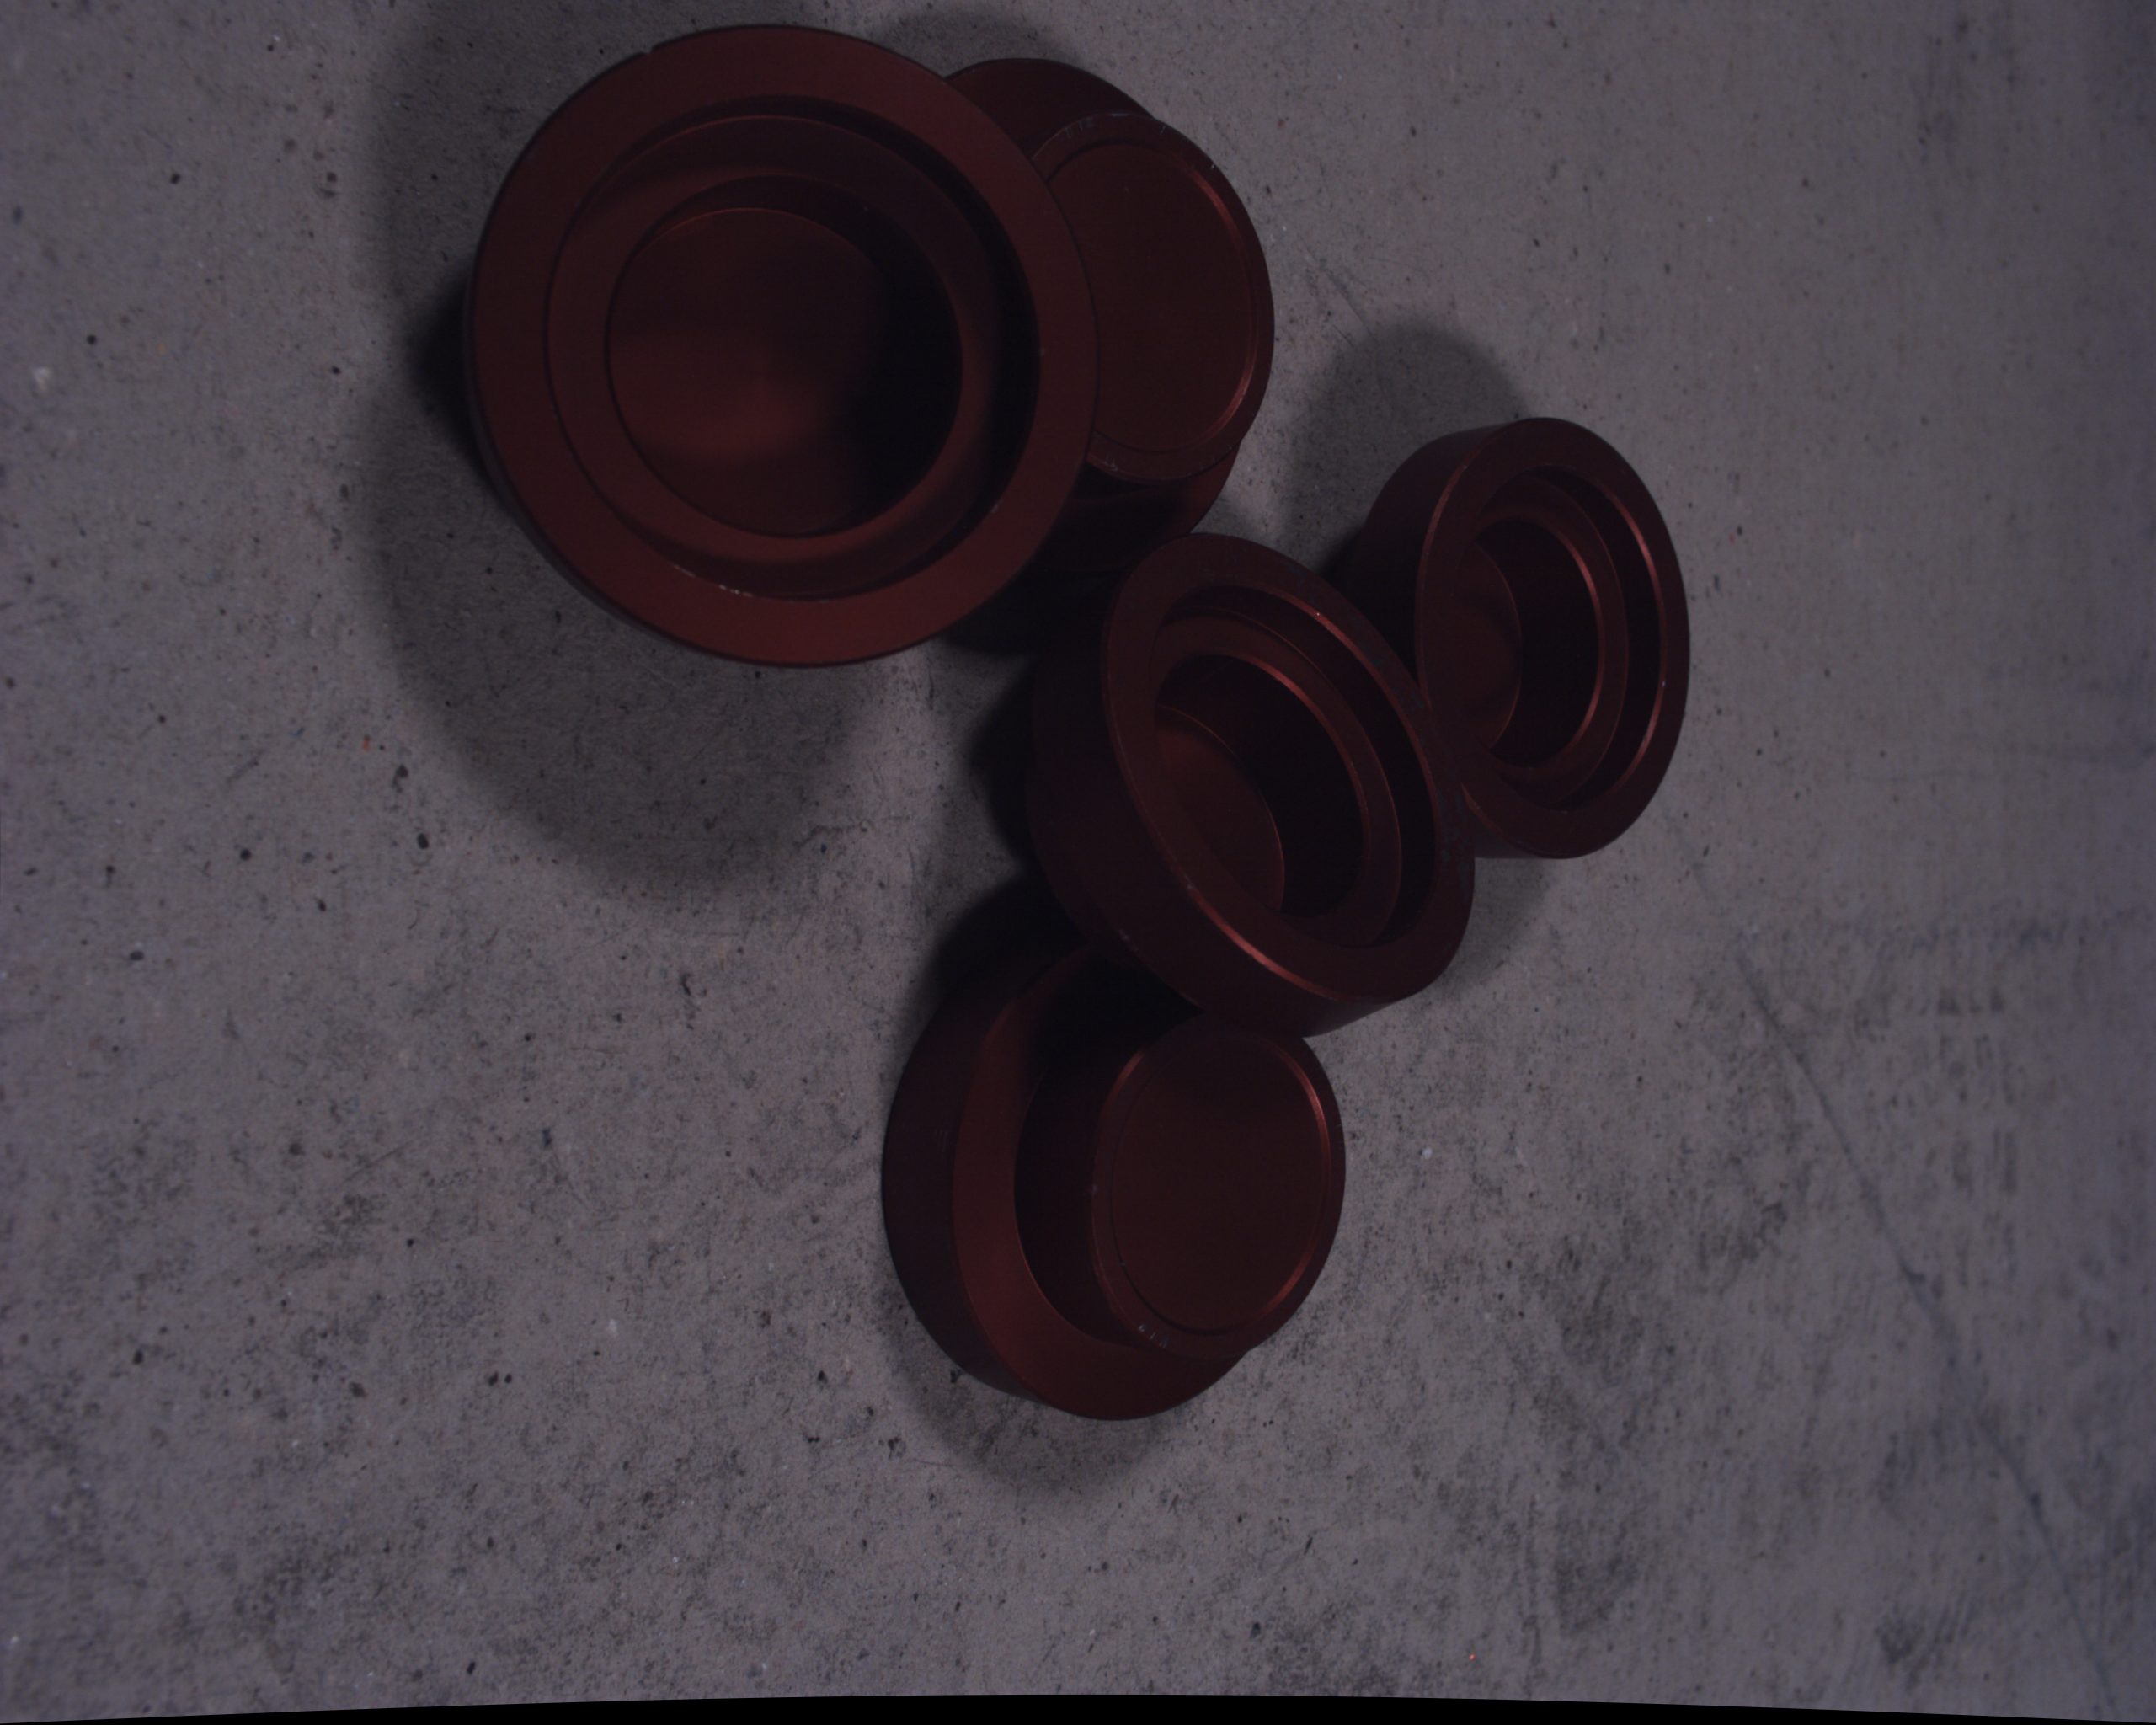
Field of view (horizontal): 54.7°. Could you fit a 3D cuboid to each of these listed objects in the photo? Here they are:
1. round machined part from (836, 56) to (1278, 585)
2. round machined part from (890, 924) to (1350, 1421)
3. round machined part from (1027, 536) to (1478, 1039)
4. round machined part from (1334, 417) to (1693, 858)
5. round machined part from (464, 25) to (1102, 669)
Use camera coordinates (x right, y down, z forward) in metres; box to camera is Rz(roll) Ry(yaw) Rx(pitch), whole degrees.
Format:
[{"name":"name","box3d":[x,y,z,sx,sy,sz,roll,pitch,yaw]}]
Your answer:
[{"name":"round machined part","box3d":[0.000,-0.103,0.396,0.099,0.042,0.097,0,90,-40]},{"name":"round machined part","box3d":[0.015,0.061,0.409,0.099,0.042,0.097,0,90,-40]},{"name":"round machined part","box3d":[0.029,-0.011,0.408,0.099,0.042,0.098,22,53,-33]},{"name":"round machined part","box3d":[0.095,-0.050,0.477,0.099,0.042,0.097,0,90,-40]},{"name":"round machined part","box3d":[-0.049,-0.081,0.341,0.099,0.042,0.097,-3,98,-19]}]
